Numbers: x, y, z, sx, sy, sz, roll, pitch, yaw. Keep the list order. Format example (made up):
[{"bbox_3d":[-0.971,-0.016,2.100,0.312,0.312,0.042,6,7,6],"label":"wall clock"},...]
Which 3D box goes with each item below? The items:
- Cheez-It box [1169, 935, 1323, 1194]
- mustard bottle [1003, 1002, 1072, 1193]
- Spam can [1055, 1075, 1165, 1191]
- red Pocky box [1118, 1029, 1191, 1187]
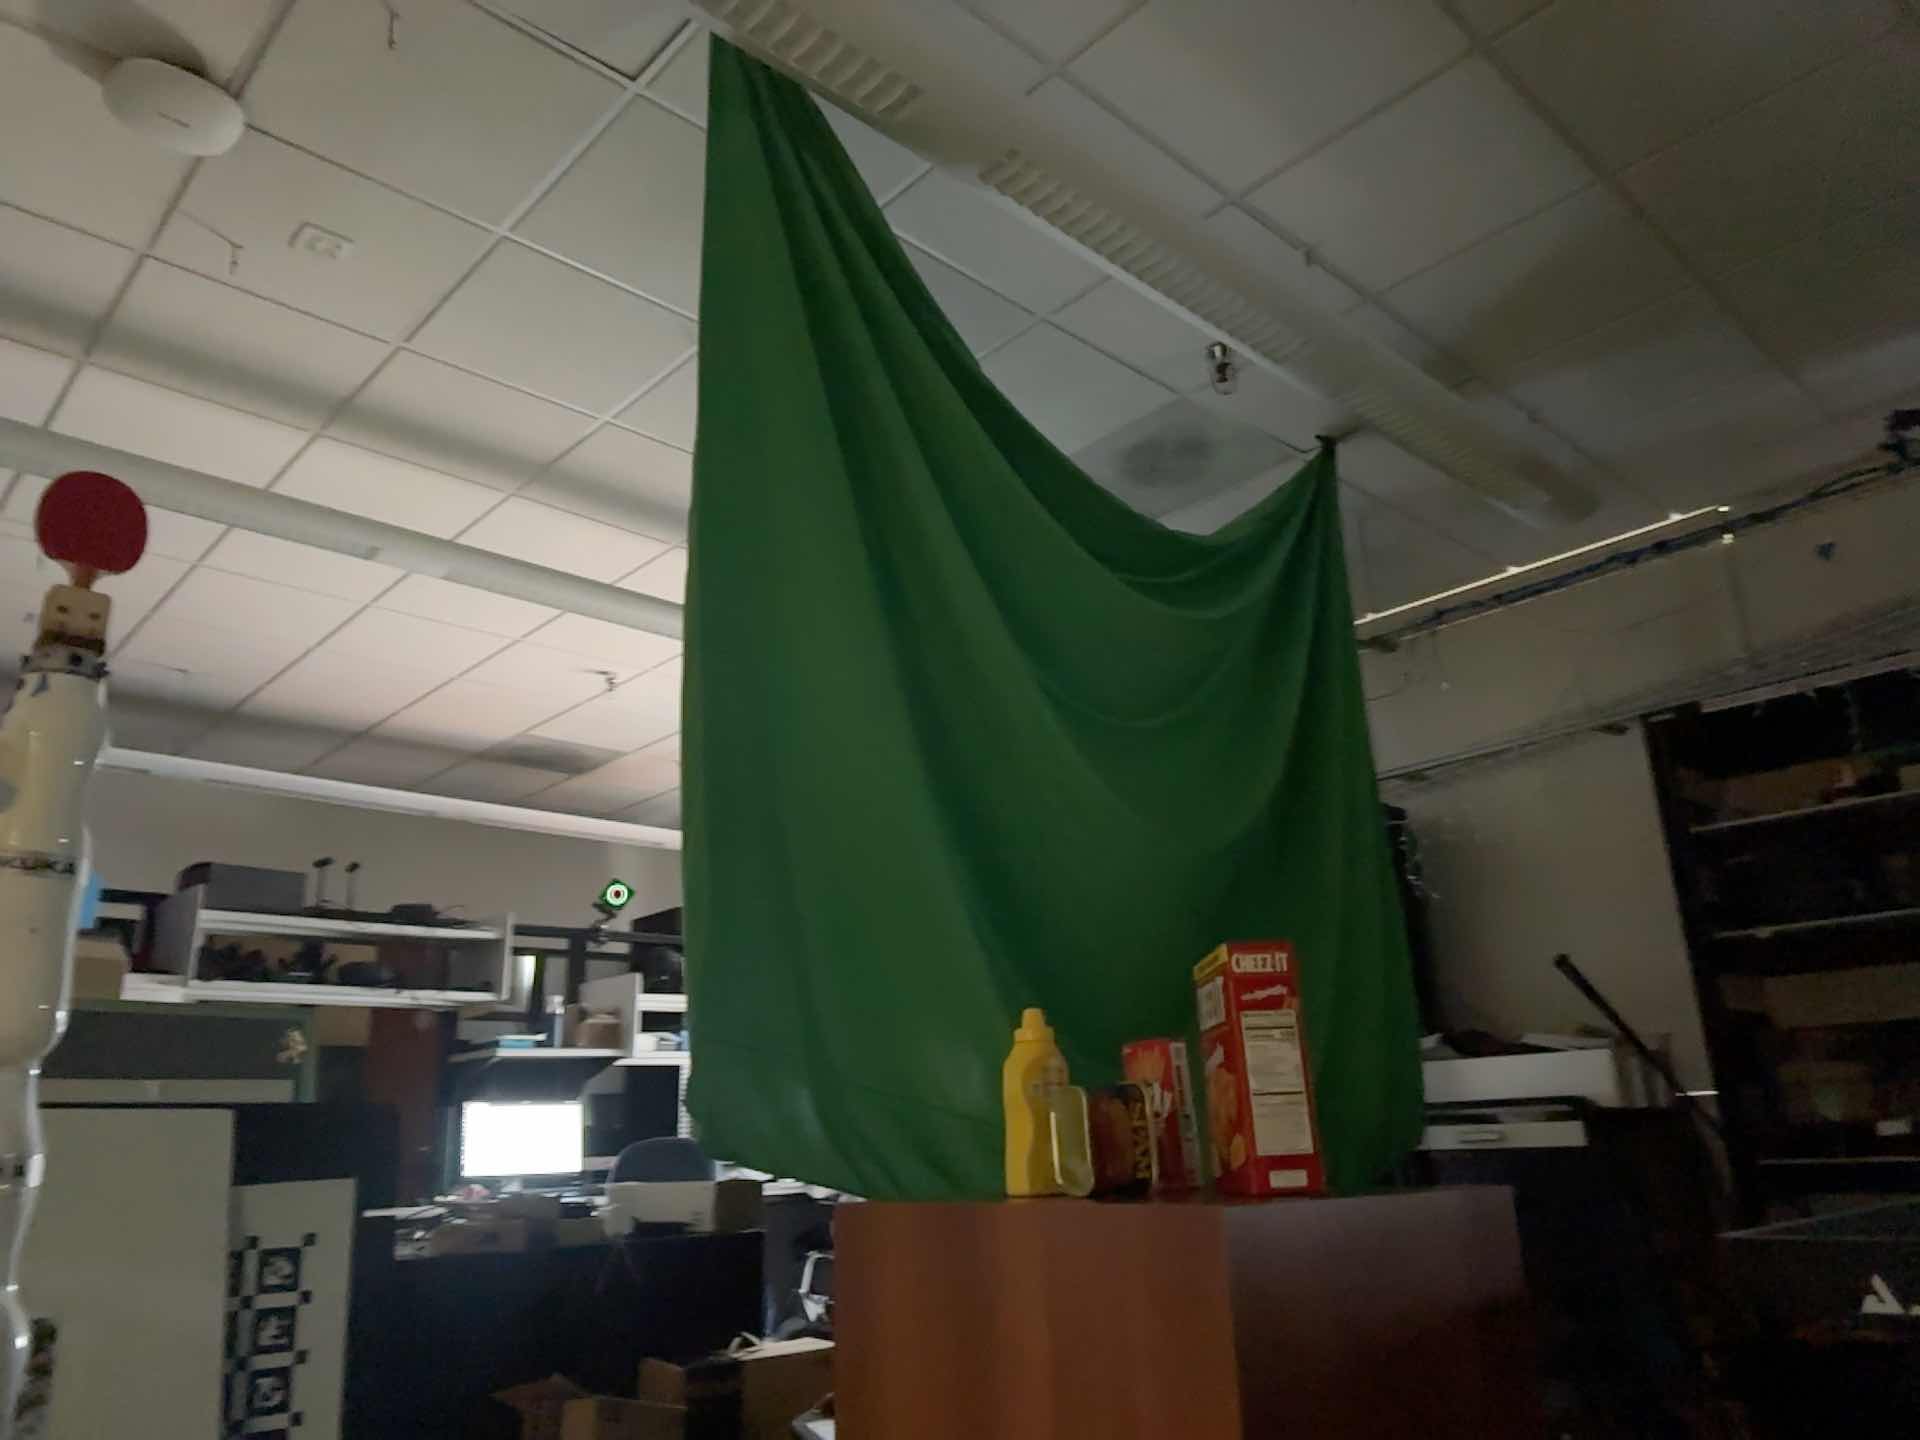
[{"bbox_3d":[0.260,0.322,1.258,0.062,0.214,0.159,1,-16,-13],"label":"Cheez-It box"},{"bbox_3d":[0.080,0.378,1.354,0.092,0.184,0.054,14,-24,-42],"label":"mustard bottle"},{"bbox_3d":[0.139,0.386,1.259,0.083,0.100,0.056,9,-20,-36],"label":"Spam can"},{"bbox_3d":[0.202,0.405,1.403,0.028,0.155,0.083,8,-20,-28],"label":"red Pocky box"}]
